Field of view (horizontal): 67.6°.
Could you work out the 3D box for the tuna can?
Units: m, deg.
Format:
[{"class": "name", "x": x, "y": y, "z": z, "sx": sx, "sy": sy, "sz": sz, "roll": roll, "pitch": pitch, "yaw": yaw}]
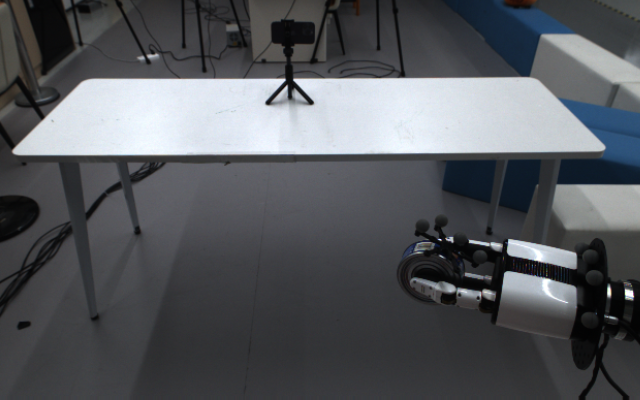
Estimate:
[{"class": "tuna can", "x": 0.150, "y": 0.103, "z": 0.640, "sx": 0.085, "sy": 0.085, "sz": 0.034, "roll": 15, "pitch": 31, "yaw": 18}]
